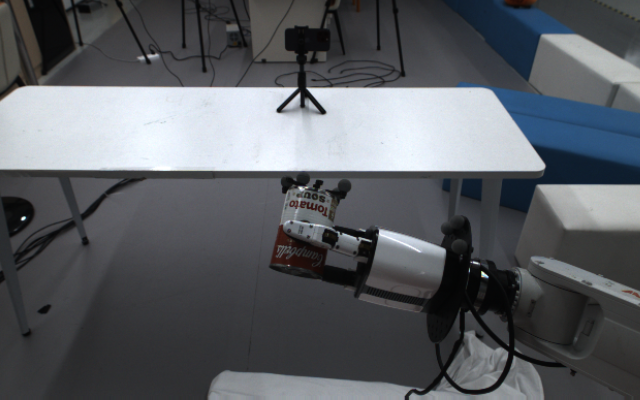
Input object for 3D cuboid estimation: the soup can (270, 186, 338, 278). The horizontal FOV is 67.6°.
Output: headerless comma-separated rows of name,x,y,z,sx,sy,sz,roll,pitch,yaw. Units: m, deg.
soup can,-0.018,0.041,0.602,0.067,0.067,0.101,9,74,9
